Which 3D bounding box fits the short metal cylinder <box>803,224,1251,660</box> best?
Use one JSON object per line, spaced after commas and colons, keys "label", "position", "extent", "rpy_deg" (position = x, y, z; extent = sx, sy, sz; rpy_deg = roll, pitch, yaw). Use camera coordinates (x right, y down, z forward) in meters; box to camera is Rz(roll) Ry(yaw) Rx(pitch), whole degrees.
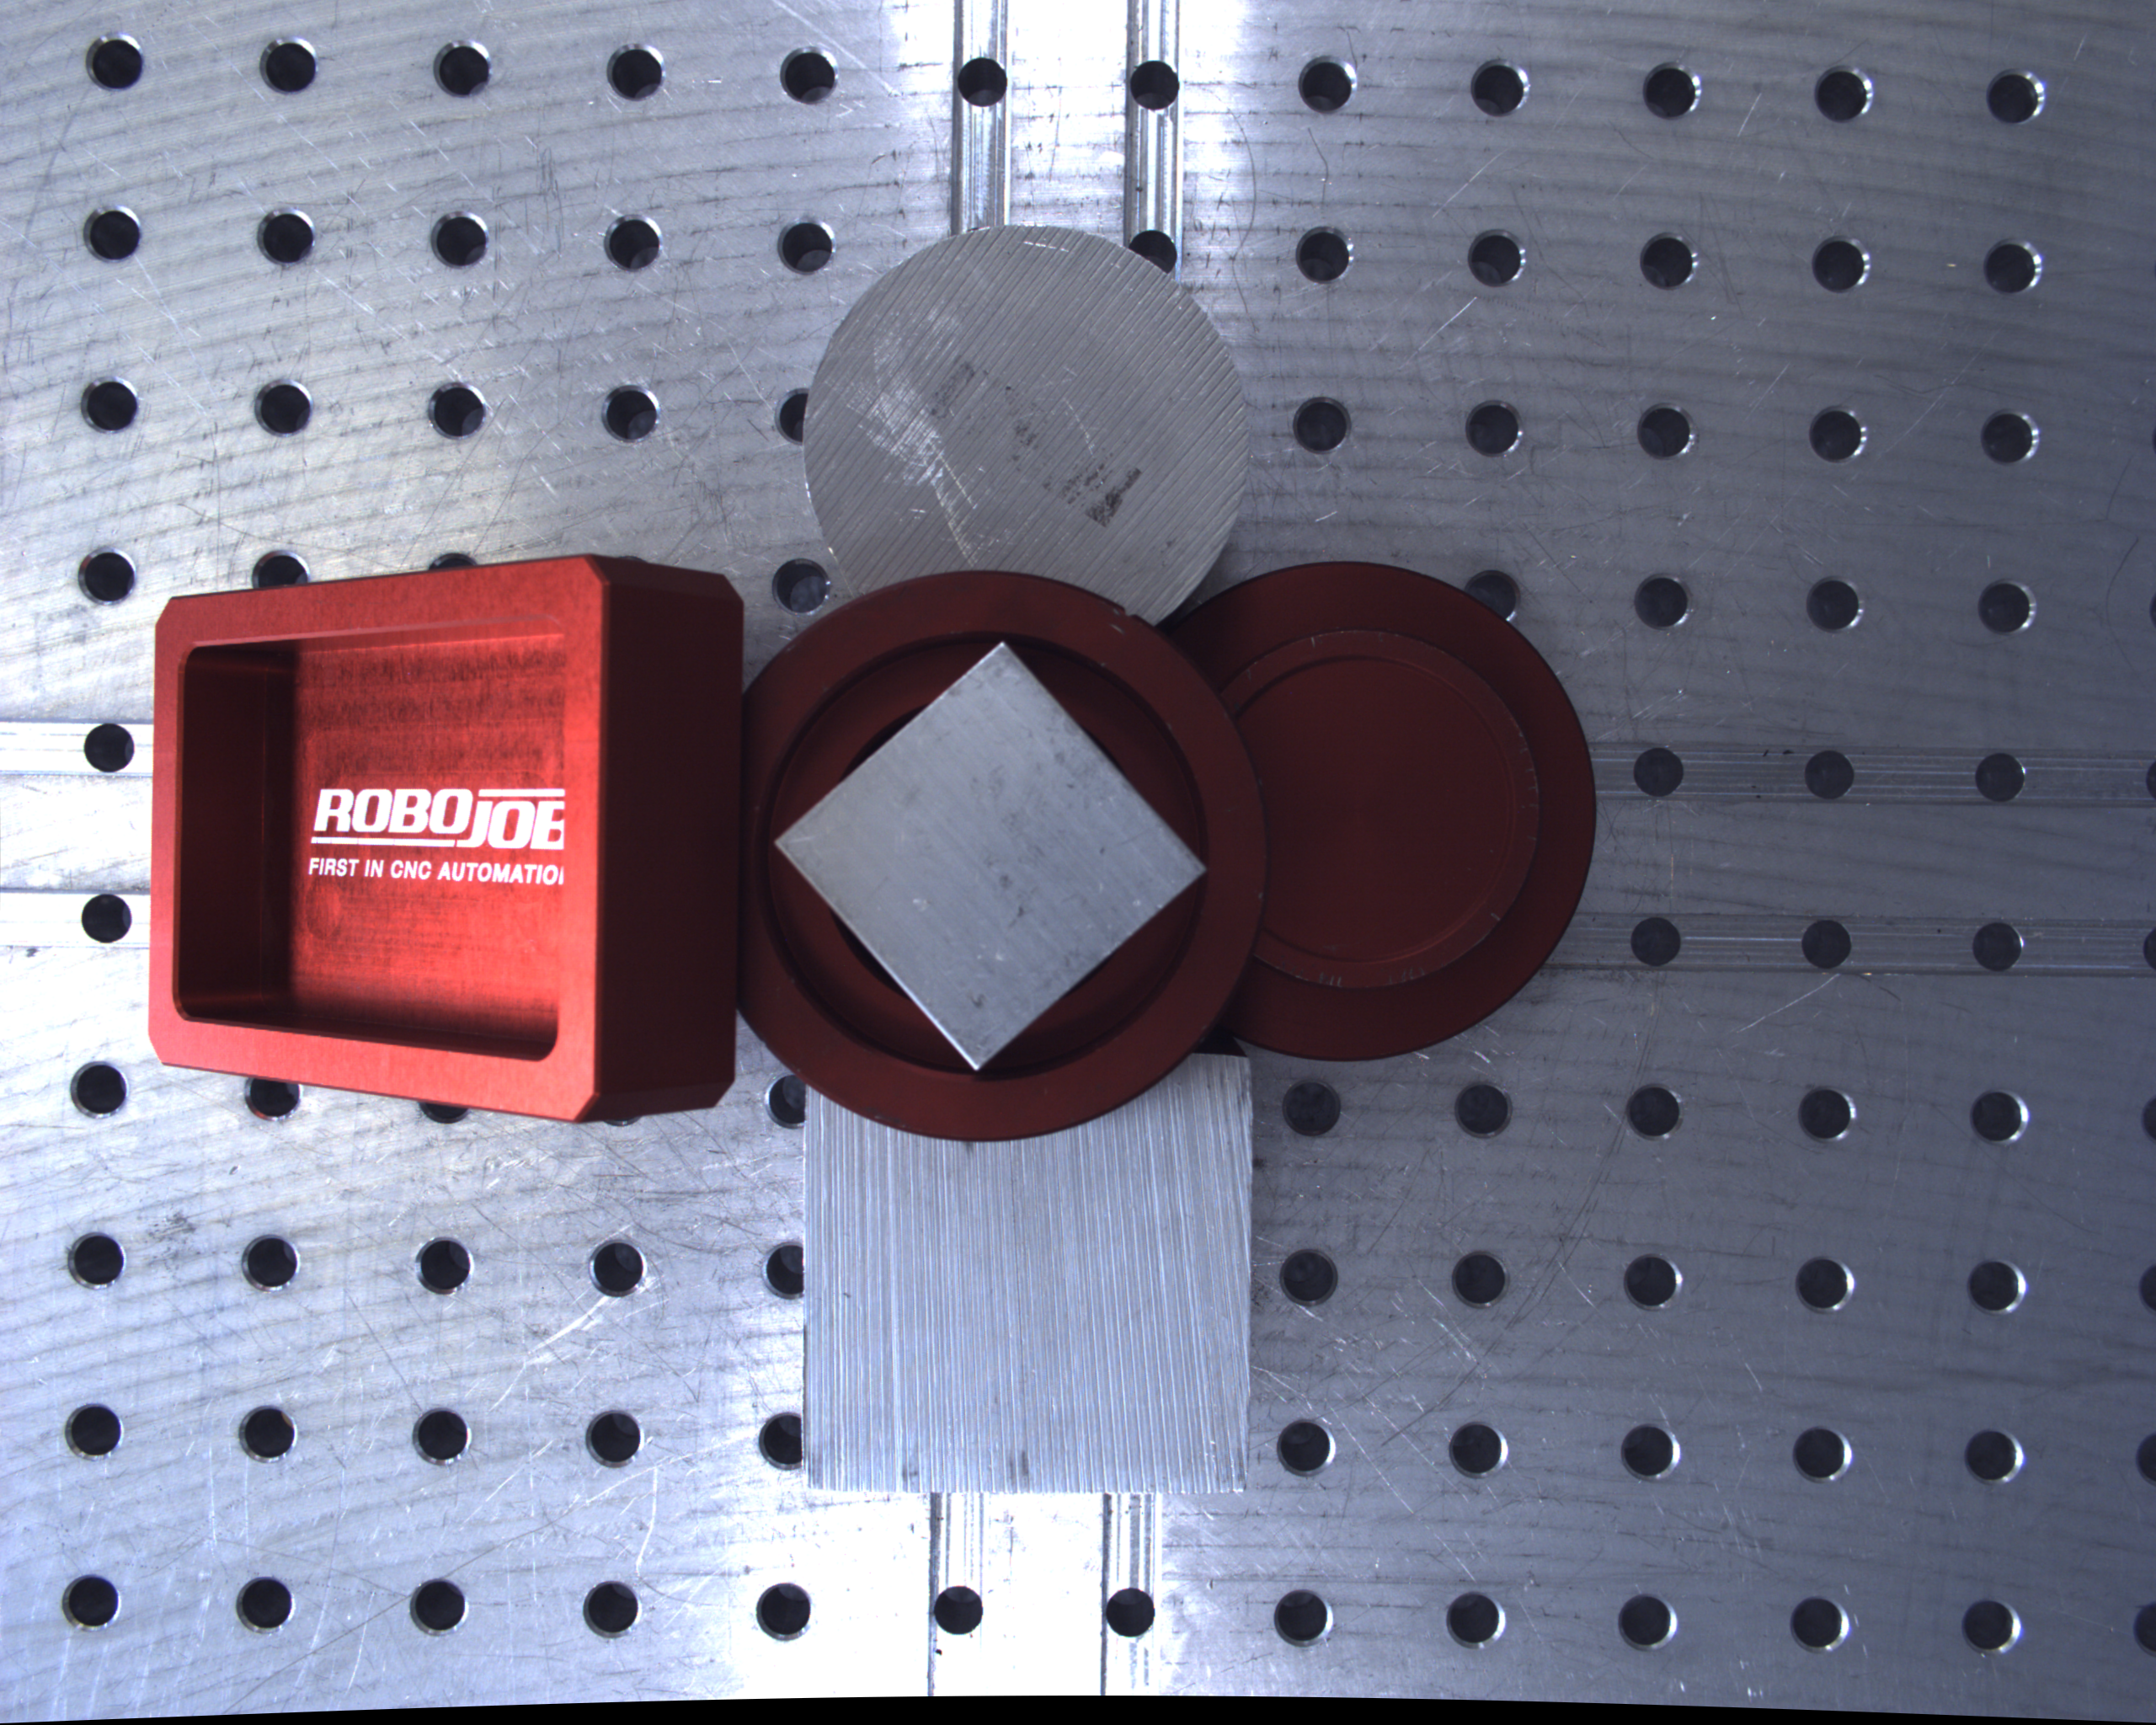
{"label": "short metal cylinder", "position": [-0.009, -0.075, 0.400], "extent": [0.081, 0.050, 0.080], "rpy_deg": [0, 90, 0]}

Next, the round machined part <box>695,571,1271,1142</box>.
{"label": "round machined part", "position": [-0.016, -0.001, 0.376], "extent": [0.099, 0.042, 0.097], "rpy_deg": [0, 90, 0]}

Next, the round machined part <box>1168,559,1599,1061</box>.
{"label": "round machined part", "position": [0.052, -0.010, 0.404], "extent": [0.099, 0.042, 0.097], "rpy_deg": [0, 90, 0]}

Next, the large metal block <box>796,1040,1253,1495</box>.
{"label": "large metal block", "position": [-0.009, 0.073, 0.398], "extent": [0.081, 0.050, 0.080], "rpy_deg": [1, 90, 0]}

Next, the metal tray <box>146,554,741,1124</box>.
{"label": "metal tray", "position": [-0.117, -0.005, 0.374], "extent": [0.130, 0.030, 0.089], "rpy_deg": [1, 90, 37]}

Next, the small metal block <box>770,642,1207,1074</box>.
{"label": "small metal block", "position": [-0.015, -0.001, 0.351], "extent": [0.050, 0.025, 0.050], "rpy_deg": [-42, 90, 0]}
